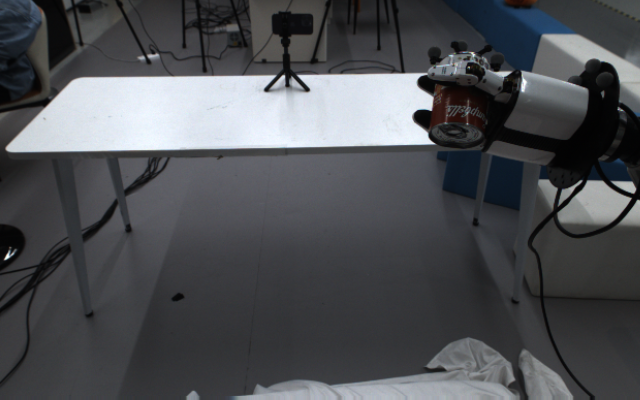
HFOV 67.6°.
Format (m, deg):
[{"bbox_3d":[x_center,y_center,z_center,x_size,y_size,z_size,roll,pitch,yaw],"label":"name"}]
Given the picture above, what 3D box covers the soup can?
[{"bbox_3d":[0.177,-0.125,0.606,0.067,0.067,0.101,8,72,9],"label":"soup can"}]
